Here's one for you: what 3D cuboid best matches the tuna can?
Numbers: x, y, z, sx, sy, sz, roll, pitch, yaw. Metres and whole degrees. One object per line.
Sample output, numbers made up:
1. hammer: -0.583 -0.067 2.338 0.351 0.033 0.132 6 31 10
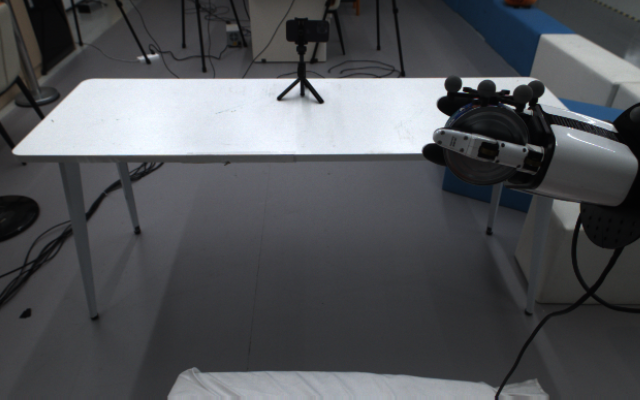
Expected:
1. tuna can: 0.175 -0.062 0.513 0.085 0.085 0.034 7 23 7
